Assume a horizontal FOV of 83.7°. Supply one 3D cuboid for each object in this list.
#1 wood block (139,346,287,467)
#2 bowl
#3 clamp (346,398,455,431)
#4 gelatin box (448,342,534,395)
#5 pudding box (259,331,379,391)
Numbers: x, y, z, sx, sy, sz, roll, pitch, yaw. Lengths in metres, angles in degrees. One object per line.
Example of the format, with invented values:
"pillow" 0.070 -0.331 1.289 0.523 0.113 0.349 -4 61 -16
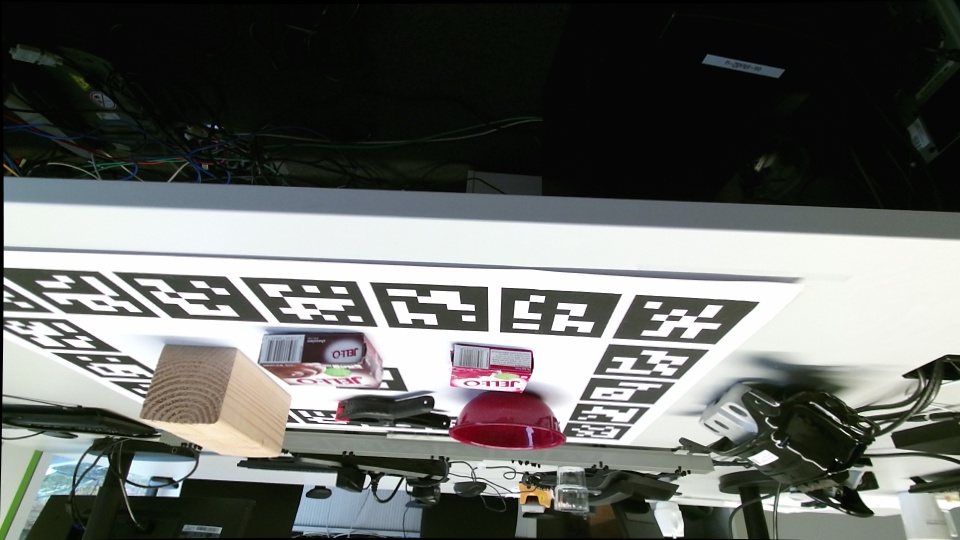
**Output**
"wood block" -0.334 0.183 0.692 0.090 0.090 0.206 4 147 2
"bowl" 0.040 0.210 0.742 0.162 0.055 0.162 3 145 2
"clamp" -0.120 0.219 0.792 0.165 0.036 0.122 -3 147 13
"gelatin box" 0.010 0.113 0.601 0.090 0.030 0.073 6 146 -4
"pudding box" -0.177 0.103 0.600 0.114 0.038 0.090 -1 144 2
